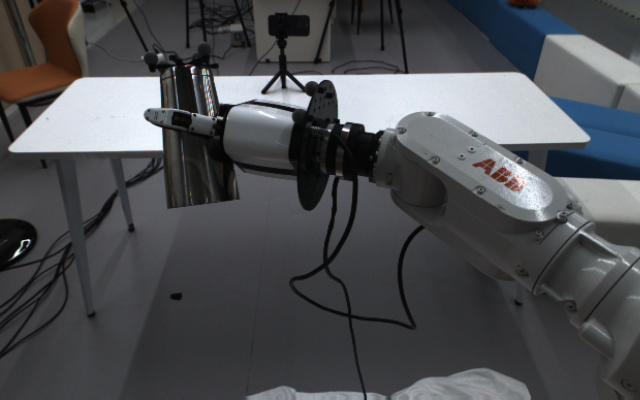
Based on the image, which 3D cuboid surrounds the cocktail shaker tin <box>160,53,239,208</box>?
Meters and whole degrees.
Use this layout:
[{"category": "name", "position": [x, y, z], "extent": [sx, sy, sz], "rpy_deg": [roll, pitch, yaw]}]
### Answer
[{"category": "cocktail shaker tin", "position": [-0.161, -0.078, 0.620], "extent": [0.093, 0.170, 0.093], "rpy_deg": [-8, 1, 0]}]
